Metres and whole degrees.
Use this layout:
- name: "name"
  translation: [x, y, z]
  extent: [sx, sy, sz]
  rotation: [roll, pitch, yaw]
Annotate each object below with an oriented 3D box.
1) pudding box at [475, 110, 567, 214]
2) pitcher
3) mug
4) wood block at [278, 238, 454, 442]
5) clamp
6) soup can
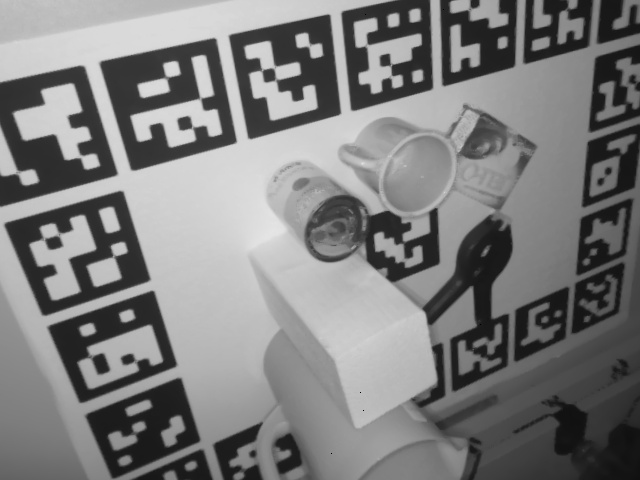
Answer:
- name: "pudding box"
  translation: [0.225, -0.087, 0.791]
  extent: [0.115, 0.038, 0.089]
  rotation: [19, 102, -33]
- name: "pitcher"
  translation: [0.037, 0.198, 0.714]
  extent: [0.191, 0.241, 0.132]
  rotation: [-20, 124, -19]
- name: "mug"
  translation: [0.099, -0.074, 0.705]
  extent: [0.118, 0.081, 0.092]
  rotation: [17, 109, -33]
- name: "wood block"
  translation: [0.037, 0.080, 0.674]
  extent: [0.090, 0.206, 0.090]
  rotation: [-19, 122, -12]
- name: "clamp"
  translation: [0.226, 0.055, 0.868]
  extent: [0.123, 0.036, 0.164]
  rotation: [12, 108, -23]
- name: "soup can"
  translation: [0.021, -0.023, 0.677]
  extent: [0.069, 0.101, 0.067]
  rotation: [-10, 117, -21]
